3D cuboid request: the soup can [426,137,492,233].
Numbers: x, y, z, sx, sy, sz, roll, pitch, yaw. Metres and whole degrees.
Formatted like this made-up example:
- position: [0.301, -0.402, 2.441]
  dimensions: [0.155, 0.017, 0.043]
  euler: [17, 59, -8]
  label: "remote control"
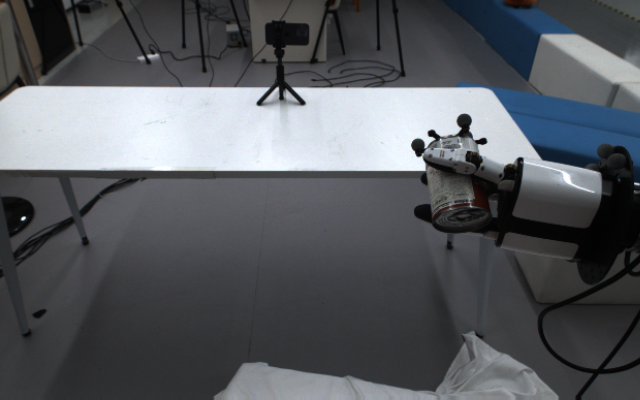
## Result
- position: [0.167, -0.021, 0.588]
  dimensions: [0.067, 0.067, 0.101]
  euler: [1, 62, -2]
  label: "soup can"
